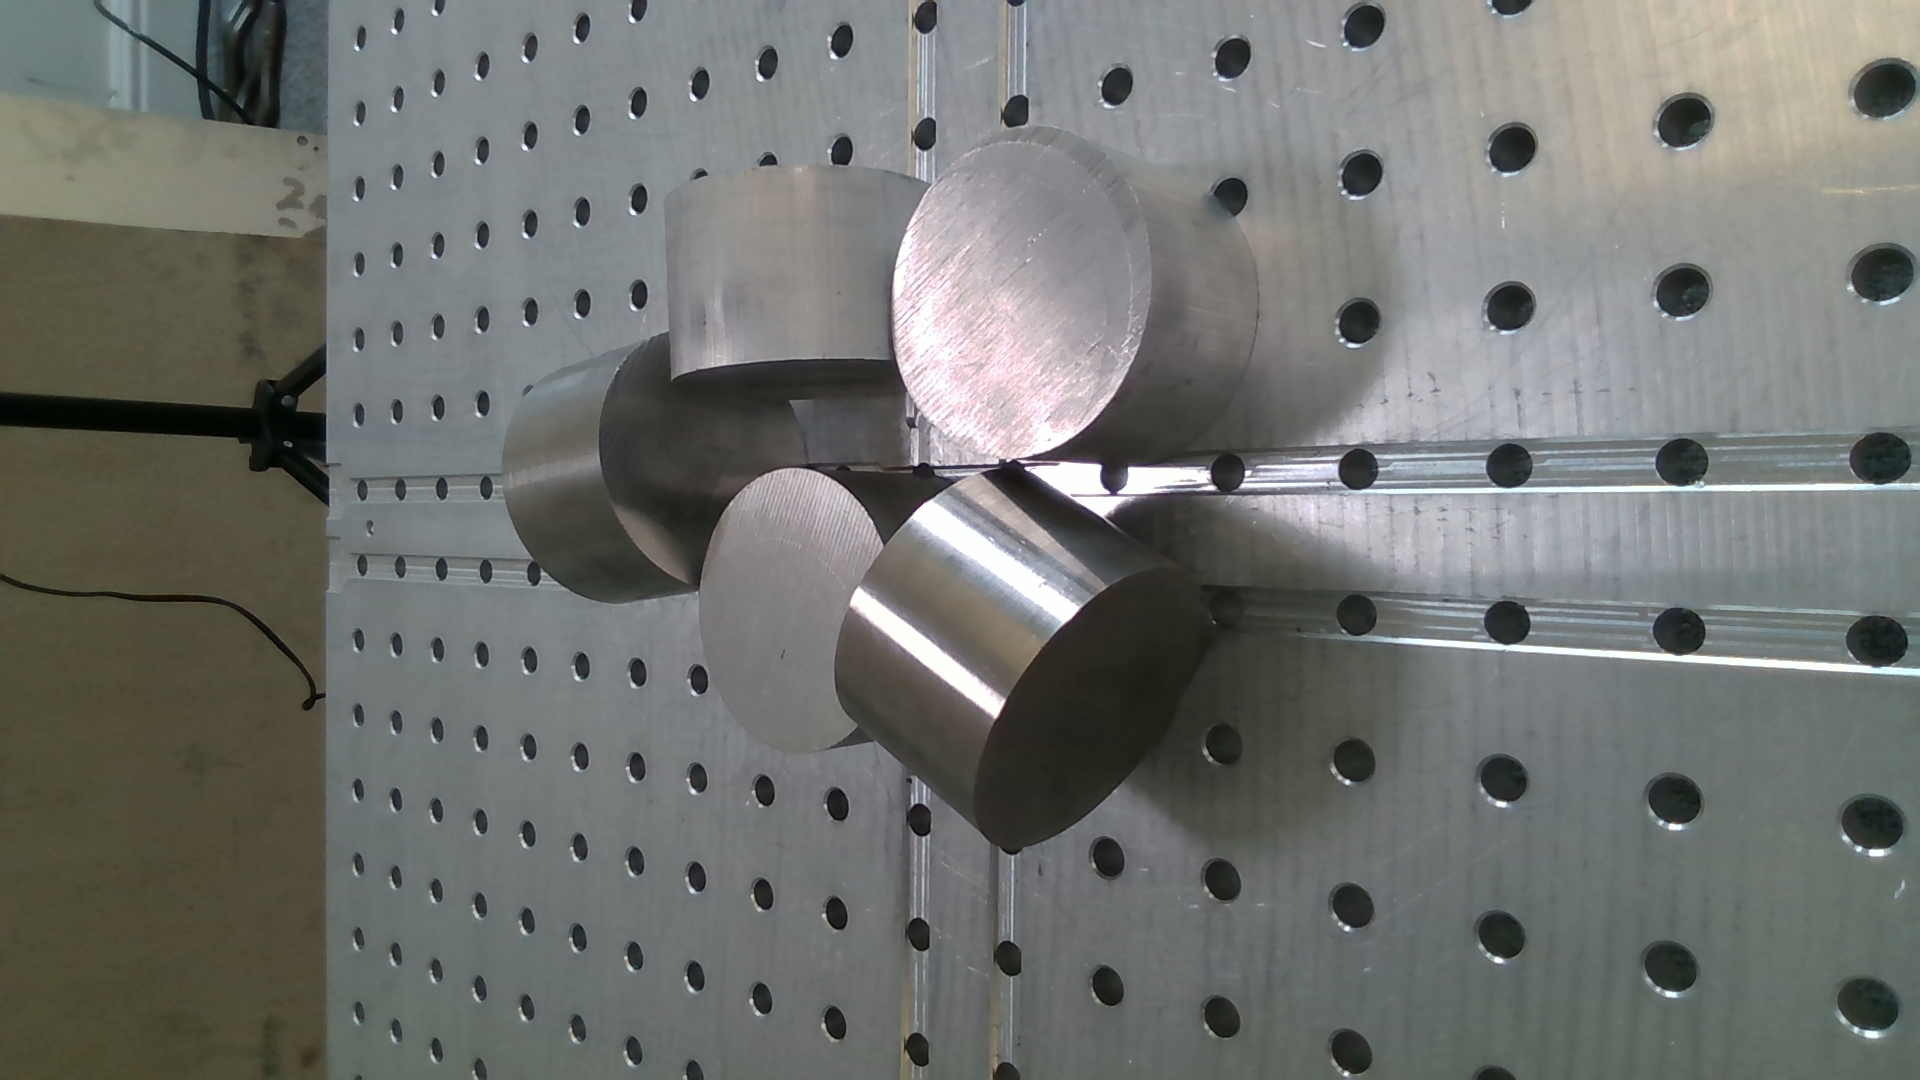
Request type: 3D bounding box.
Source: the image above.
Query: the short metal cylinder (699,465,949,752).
[{"bbox_3d":[-0.031,0.019,0.404,0.080,0.050,0.080,1,91,41],"label":"short metal cylinder"}]

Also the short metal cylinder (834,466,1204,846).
[{"bbox_3d":[0.016,0.029,0.345,0.050,0.080,0.080,35,112,34],"label":"short metal cylinder"}]

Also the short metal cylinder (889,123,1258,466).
[{"bbox_3d":[0.028,-0.060,0.352,0.080,0.050,0.080,-1,89,40],"label":"short metal cylinder"}]

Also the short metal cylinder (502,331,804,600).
[{"bbox_3d":[-0.096,-0.023,0.438,0.050,0.080,0.080,-8,85,40],"label":"short metal cylinder"}]

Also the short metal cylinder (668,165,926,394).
[{"bbox_3d":[-0.042,-0.071,0.394,0.080,0.080,0.050,-3,89,40],"label":"short metal cylinder"}]
